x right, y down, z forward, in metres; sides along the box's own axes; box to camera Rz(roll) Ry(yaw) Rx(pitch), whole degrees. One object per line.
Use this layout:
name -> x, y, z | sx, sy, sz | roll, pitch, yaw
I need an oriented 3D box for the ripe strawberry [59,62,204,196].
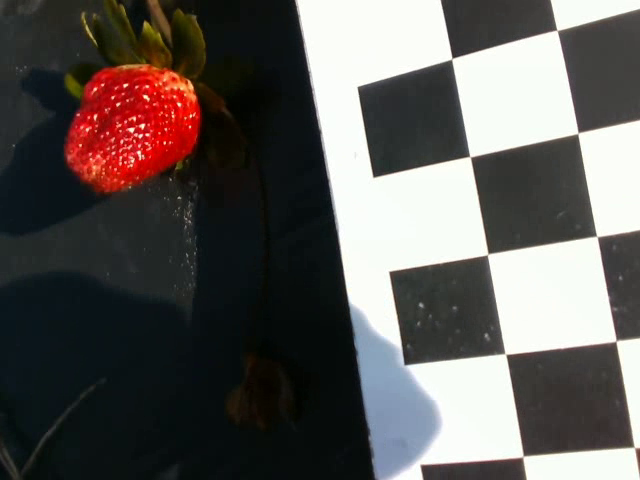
ripe strawberry -> -0.021, -0.013, 0.064 | 0.015, 0.015, 0.023 | -2, 38, 15
